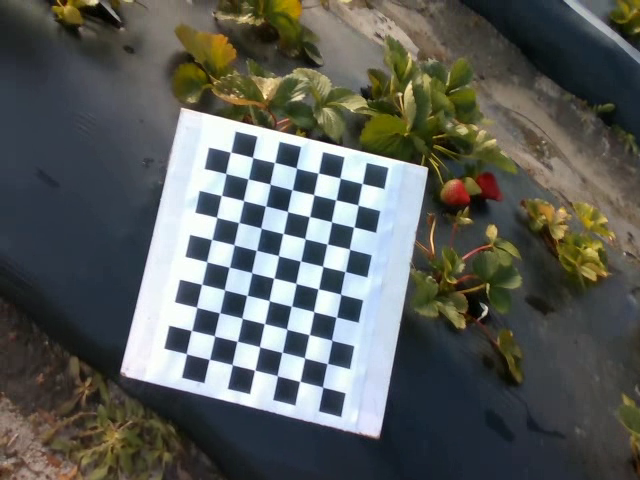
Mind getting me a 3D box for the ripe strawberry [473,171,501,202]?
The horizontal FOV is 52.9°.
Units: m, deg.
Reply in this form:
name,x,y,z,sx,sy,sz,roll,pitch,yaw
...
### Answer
name,x,y,z,sx,sy,sz,roll,pitch,yaw
ripe strawberry,0.282,-0.085,1.067,0.048,0.065,0.050,-36,-8,-6
